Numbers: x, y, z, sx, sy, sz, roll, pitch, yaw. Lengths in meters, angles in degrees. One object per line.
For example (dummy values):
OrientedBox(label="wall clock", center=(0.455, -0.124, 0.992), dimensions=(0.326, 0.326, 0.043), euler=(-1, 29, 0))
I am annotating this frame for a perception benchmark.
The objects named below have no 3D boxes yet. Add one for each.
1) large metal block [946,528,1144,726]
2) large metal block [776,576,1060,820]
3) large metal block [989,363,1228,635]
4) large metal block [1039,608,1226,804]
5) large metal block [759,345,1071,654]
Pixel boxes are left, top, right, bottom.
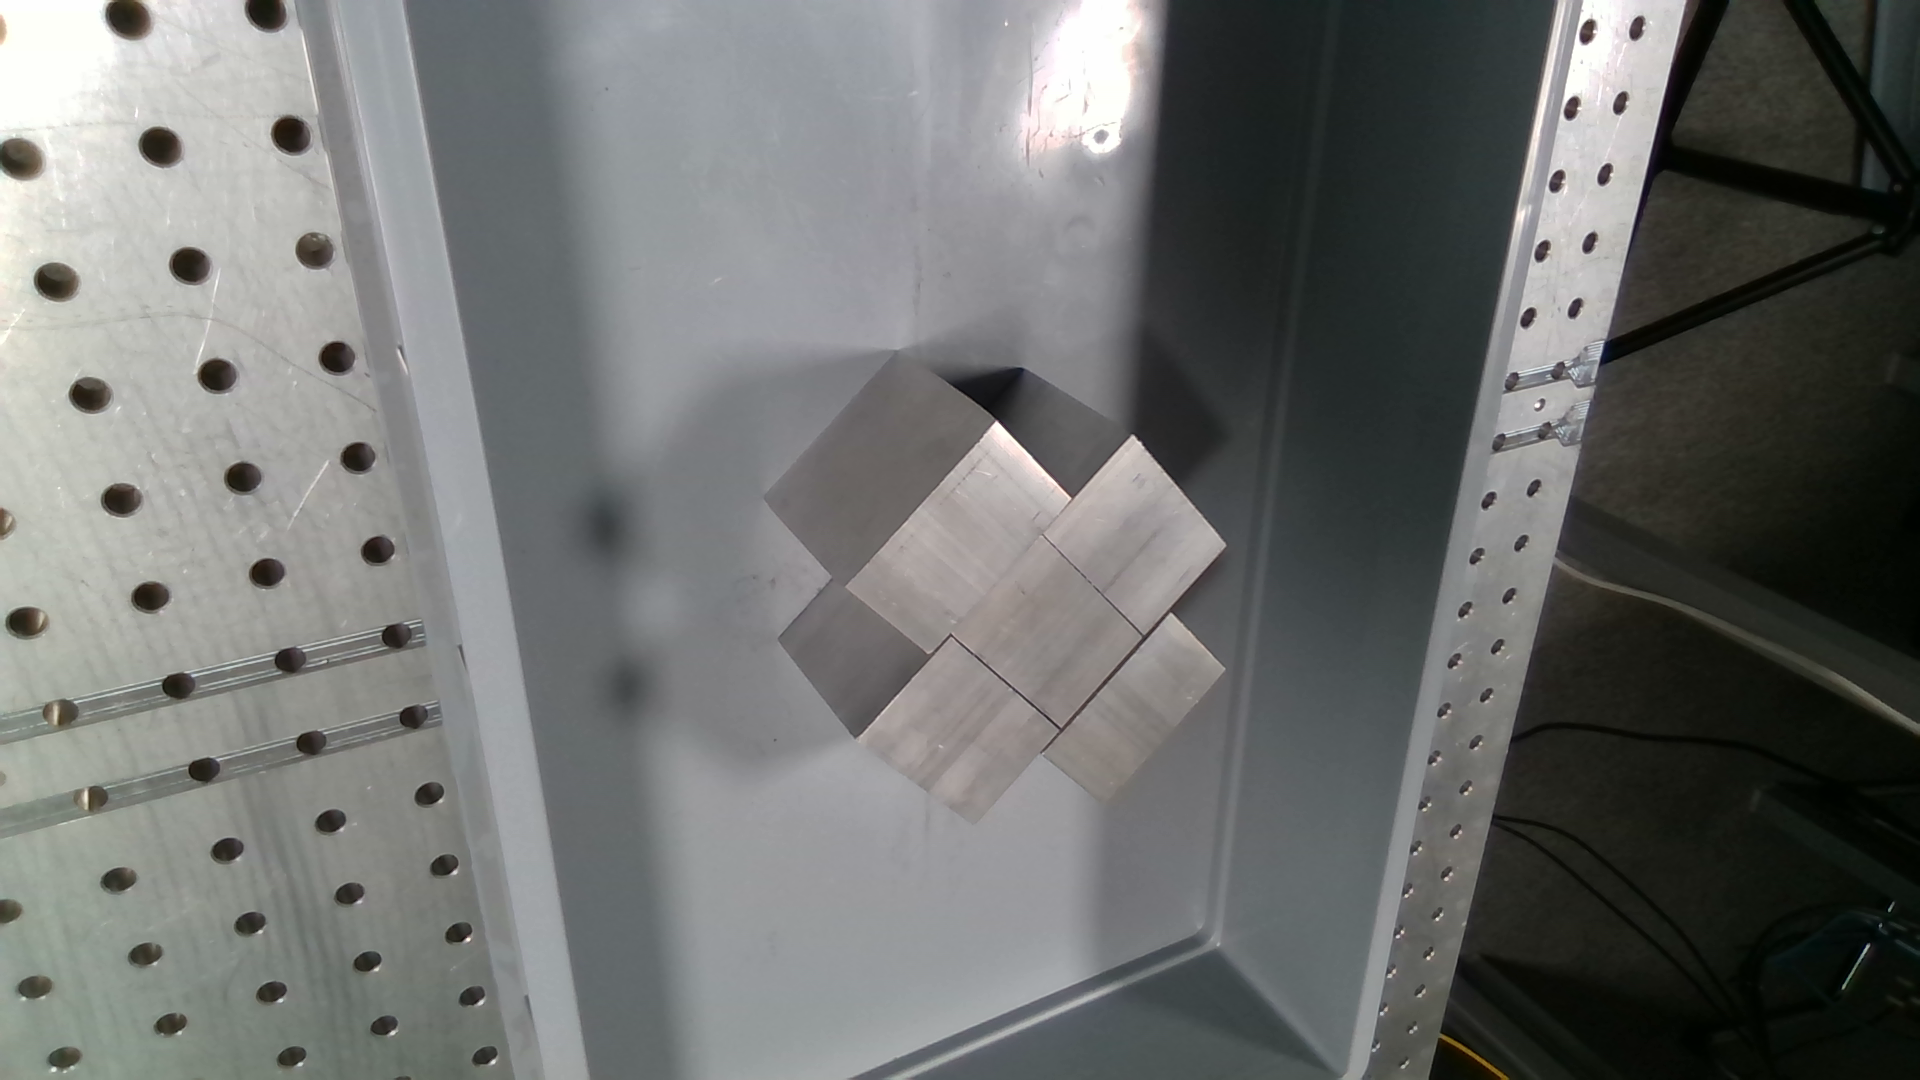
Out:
OrientedBox(label="large metal block", center=(0.016, 0.020, 0.566), dimensions=(0.050, 0.080, 0.080), euler=(-48, 129, -1))
OrientedBox(label="large metal block", center=(-0.018, 0.057, 0.565), dimensions=(0.050, 0.080, 0.080), euler=(-48, 129, -1))
OrientedBox(label="large metal block", center=(0.051, -0.017, 0.566), dimensions=(0.050, 0.080, 0.080), euler=(-48, 129, -1))
OrientedBox(label="large metal block", center=(0.055, 0.054, 0.608), dimensions=(0.080, 0.080, 0.050), euler=(-48, 129, 0))
OrientedBox(label="large metal block", center=(-0.019, -0.017, 0.524), dimensions=(0.080, 0.080, 0.050), euler=(-48, 129, 0))
